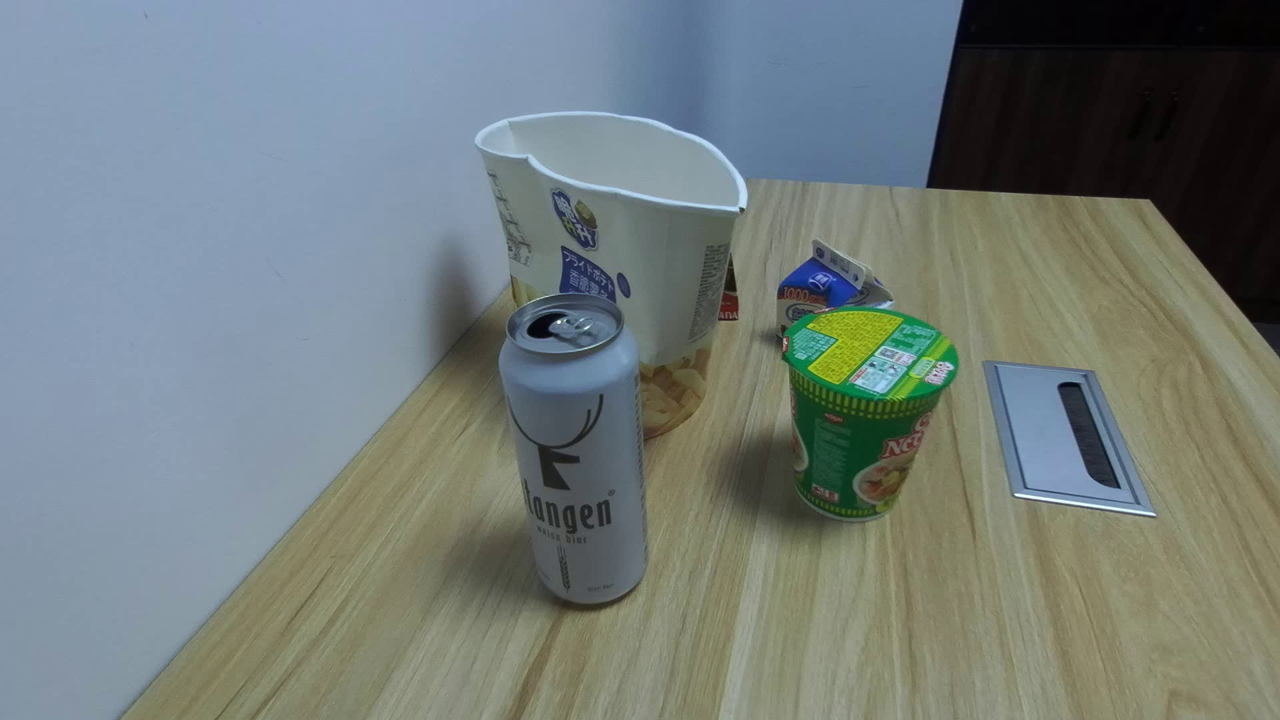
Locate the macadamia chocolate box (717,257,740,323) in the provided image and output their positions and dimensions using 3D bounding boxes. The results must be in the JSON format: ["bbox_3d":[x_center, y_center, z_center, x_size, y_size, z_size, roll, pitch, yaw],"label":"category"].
[{"bbox_3d":[0.056,-0.105,0.666,0.056,0.112,0.126,-2,23,-6],"label":"macadamia chocolate box"}]

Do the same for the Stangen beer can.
[{"bbox_3d":[-0.031,0.052,0.372,0.067,0.171,0.067,-2,34,2],"label":"Stangen beer can"}]

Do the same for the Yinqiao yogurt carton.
[{"bbox_3d":[0.157,-0.045,0.566,0.071,0.094,0.077,-19,36,-13],"label":"Yinqiao yogurt carton"}]

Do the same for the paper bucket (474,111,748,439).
[{"bbox_3d":[-0.020,-0.058,0.504,0.217,0.199,0.147,9,36,17],"label":"paper bucket"}]

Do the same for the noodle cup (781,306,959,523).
[{"bbox_3d":[0.134,0.037,0.433,0.097,0.110,0.097,-3,35,2],"label":"noodle cup"}]
